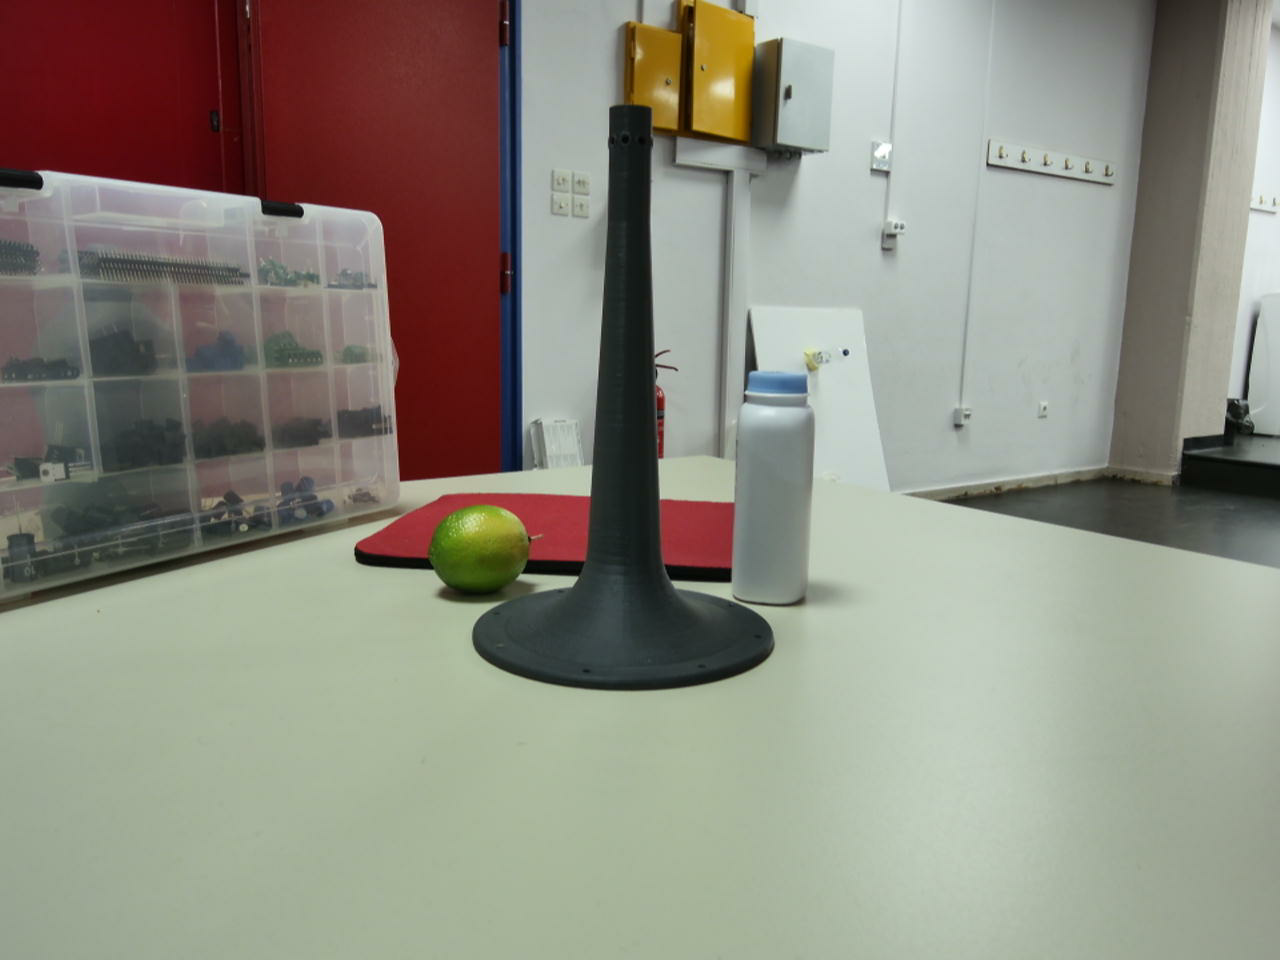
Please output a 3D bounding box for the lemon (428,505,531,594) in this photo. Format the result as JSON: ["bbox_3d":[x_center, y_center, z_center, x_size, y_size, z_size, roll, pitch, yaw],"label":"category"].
[{"bbox_3d":[-0.092,0.039,0.576,0.055,0.050,0.054,1,8,14],"label":"lemon"}]
